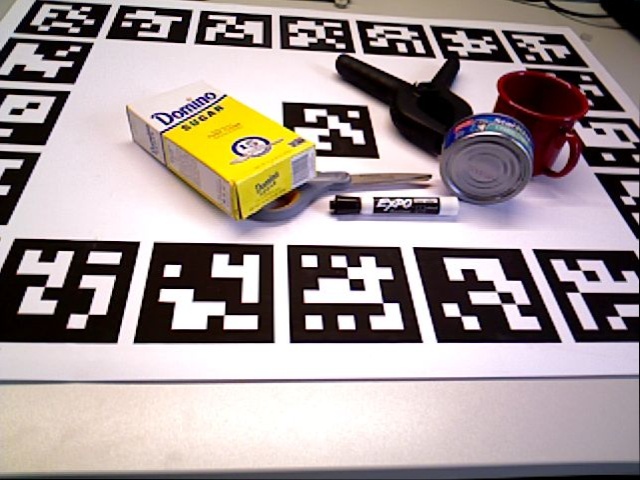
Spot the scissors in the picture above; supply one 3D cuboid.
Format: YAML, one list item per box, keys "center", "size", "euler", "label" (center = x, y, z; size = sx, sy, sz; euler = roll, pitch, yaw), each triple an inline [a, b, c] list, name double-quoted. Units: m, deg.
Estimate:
- center: [0.010, -0.059, 0.524]
  size: [0.200, 0.016, 0.087]
  euler: [-6, 45, -15]
  label: "scissors"

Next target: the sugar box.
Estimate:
- center: [-0.095, -0.090, 0.516]
  size: [0.091, 0.046, 0.176]
  euler: [-29, 51, -30]
  label: "sugar box"

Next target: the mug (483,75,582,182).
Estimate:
- center: [0.214, -0.105, 0.557]
  size: [0.091, 0.083, 0.116]
  euler: [-20, 50, -25]
  label: "mug"

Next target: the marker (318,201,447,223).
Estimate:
- center: [0.058, -0.026, 0.503]
  size: [0.120, 0.020, 0.019]
  euler: [-1, 49, -8]
  label: "marker"

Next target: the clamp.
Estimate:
- center: [0.115, -0.153, 0.630]
  size: [0.163, 0.037, 0.200]
  euler: [-6, 50, -14]
  label: "clamp"

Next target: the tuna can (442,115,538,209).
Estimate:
- center: [0.159, -0.071, 0.512]
  size: [0.085, 0.088, 0.033]
  euler: [14, 47, 5]
  label: "tuna can"
